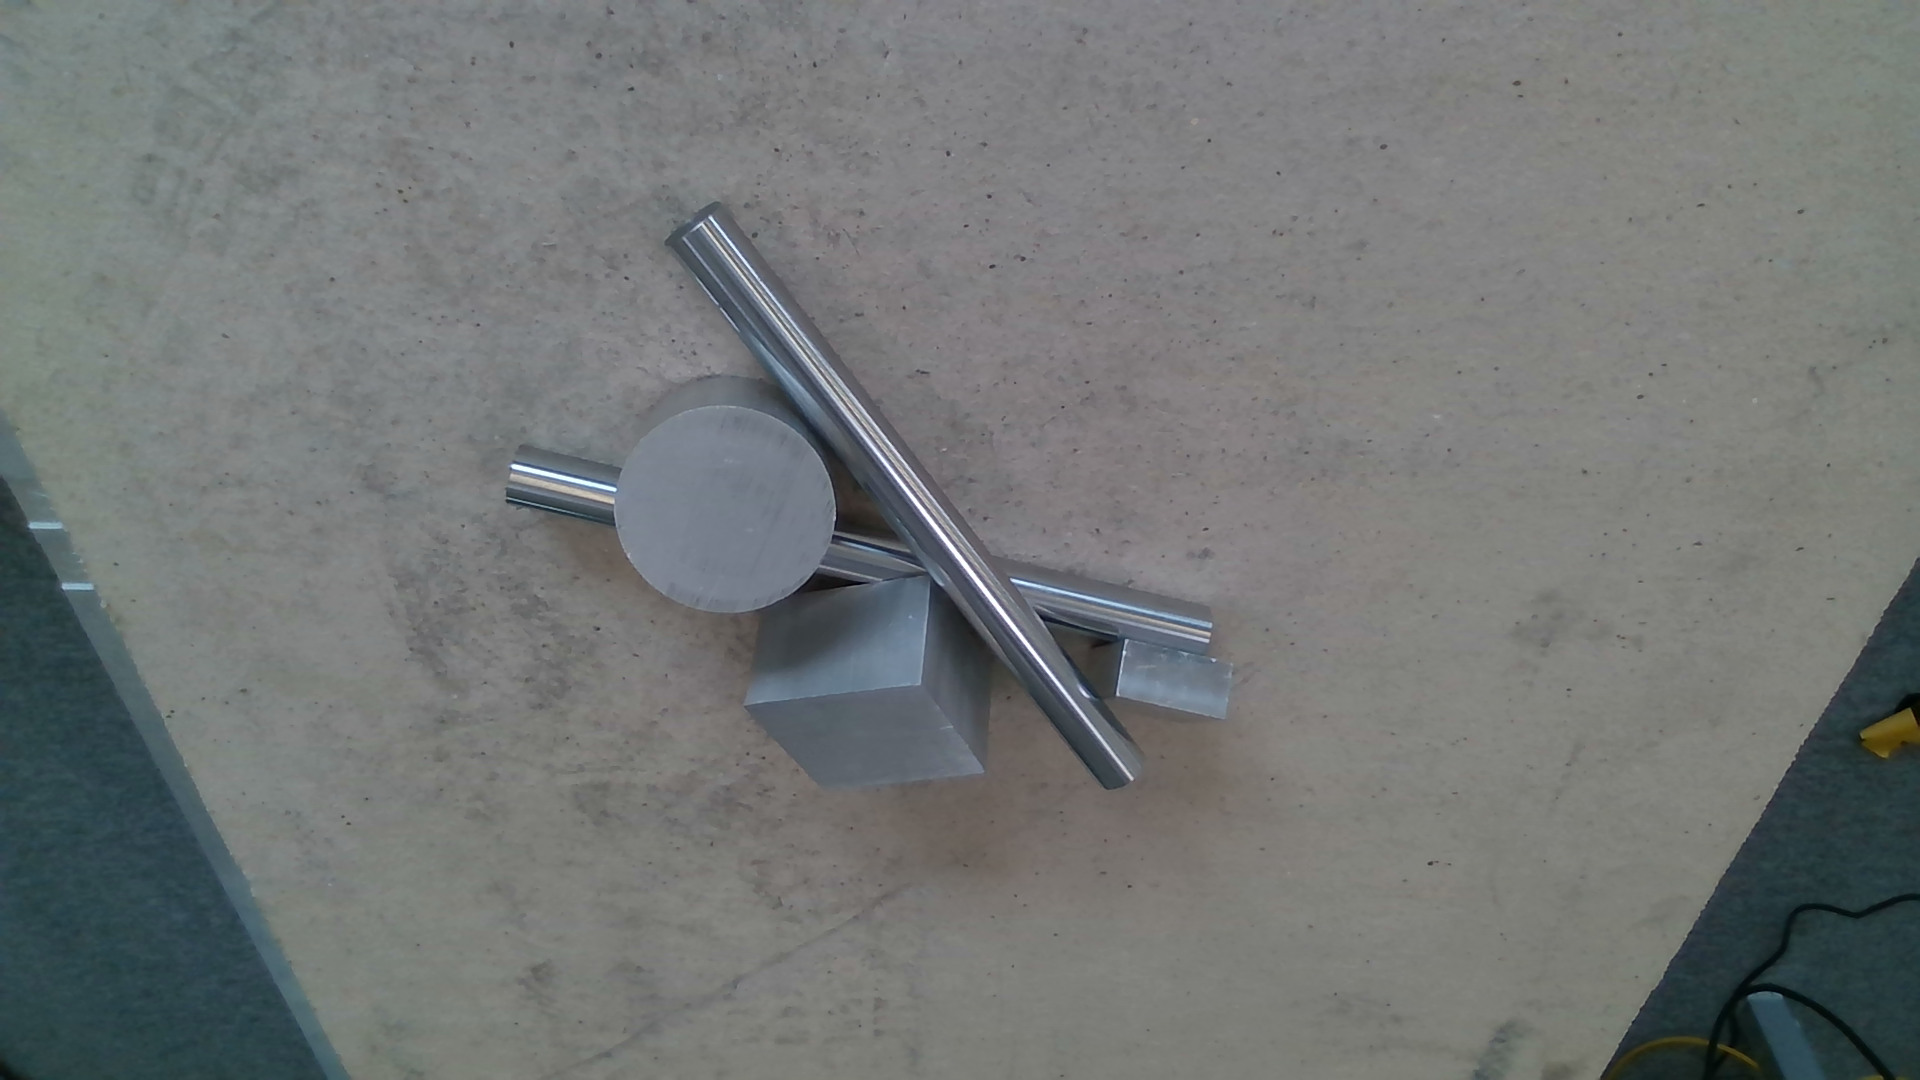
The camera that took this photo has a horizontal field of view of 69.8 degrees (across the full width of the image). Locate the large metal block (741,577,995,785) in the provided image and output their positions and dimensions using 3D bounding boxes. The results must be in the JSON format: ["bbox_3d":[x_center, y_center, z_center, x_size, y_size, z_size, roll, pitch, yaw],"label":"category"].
[{"bbox_3d":[-0.037,0.063,0.597,0.080,0.050,0.080,-8,143,19],"label":"large metal block"}]

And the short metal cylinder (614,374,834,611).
[{"bbox_3d":[-0.089,-0.019,0.531,0.080,0.050,0.080,-2,110,-6],"label":"short metal cylinder"}]

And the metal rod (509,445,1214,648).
[{"bbox_3d":[-0.036,0.007,0.585,0.300,0.025,0.025,13,129,-11],"label":"metal rod"}]

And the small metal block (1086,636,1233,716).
[{"bbox_3d":[0.087,0.062,0.616,0.050,0.025,0.050,13,169,-11],"label":"small metal block"}]

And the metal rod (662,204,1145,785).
[{"bbox_3d":[-0.012,-0.006,0.552,0.025,0.025,0.301,-27,118,21],"label":"metal rod"}]
